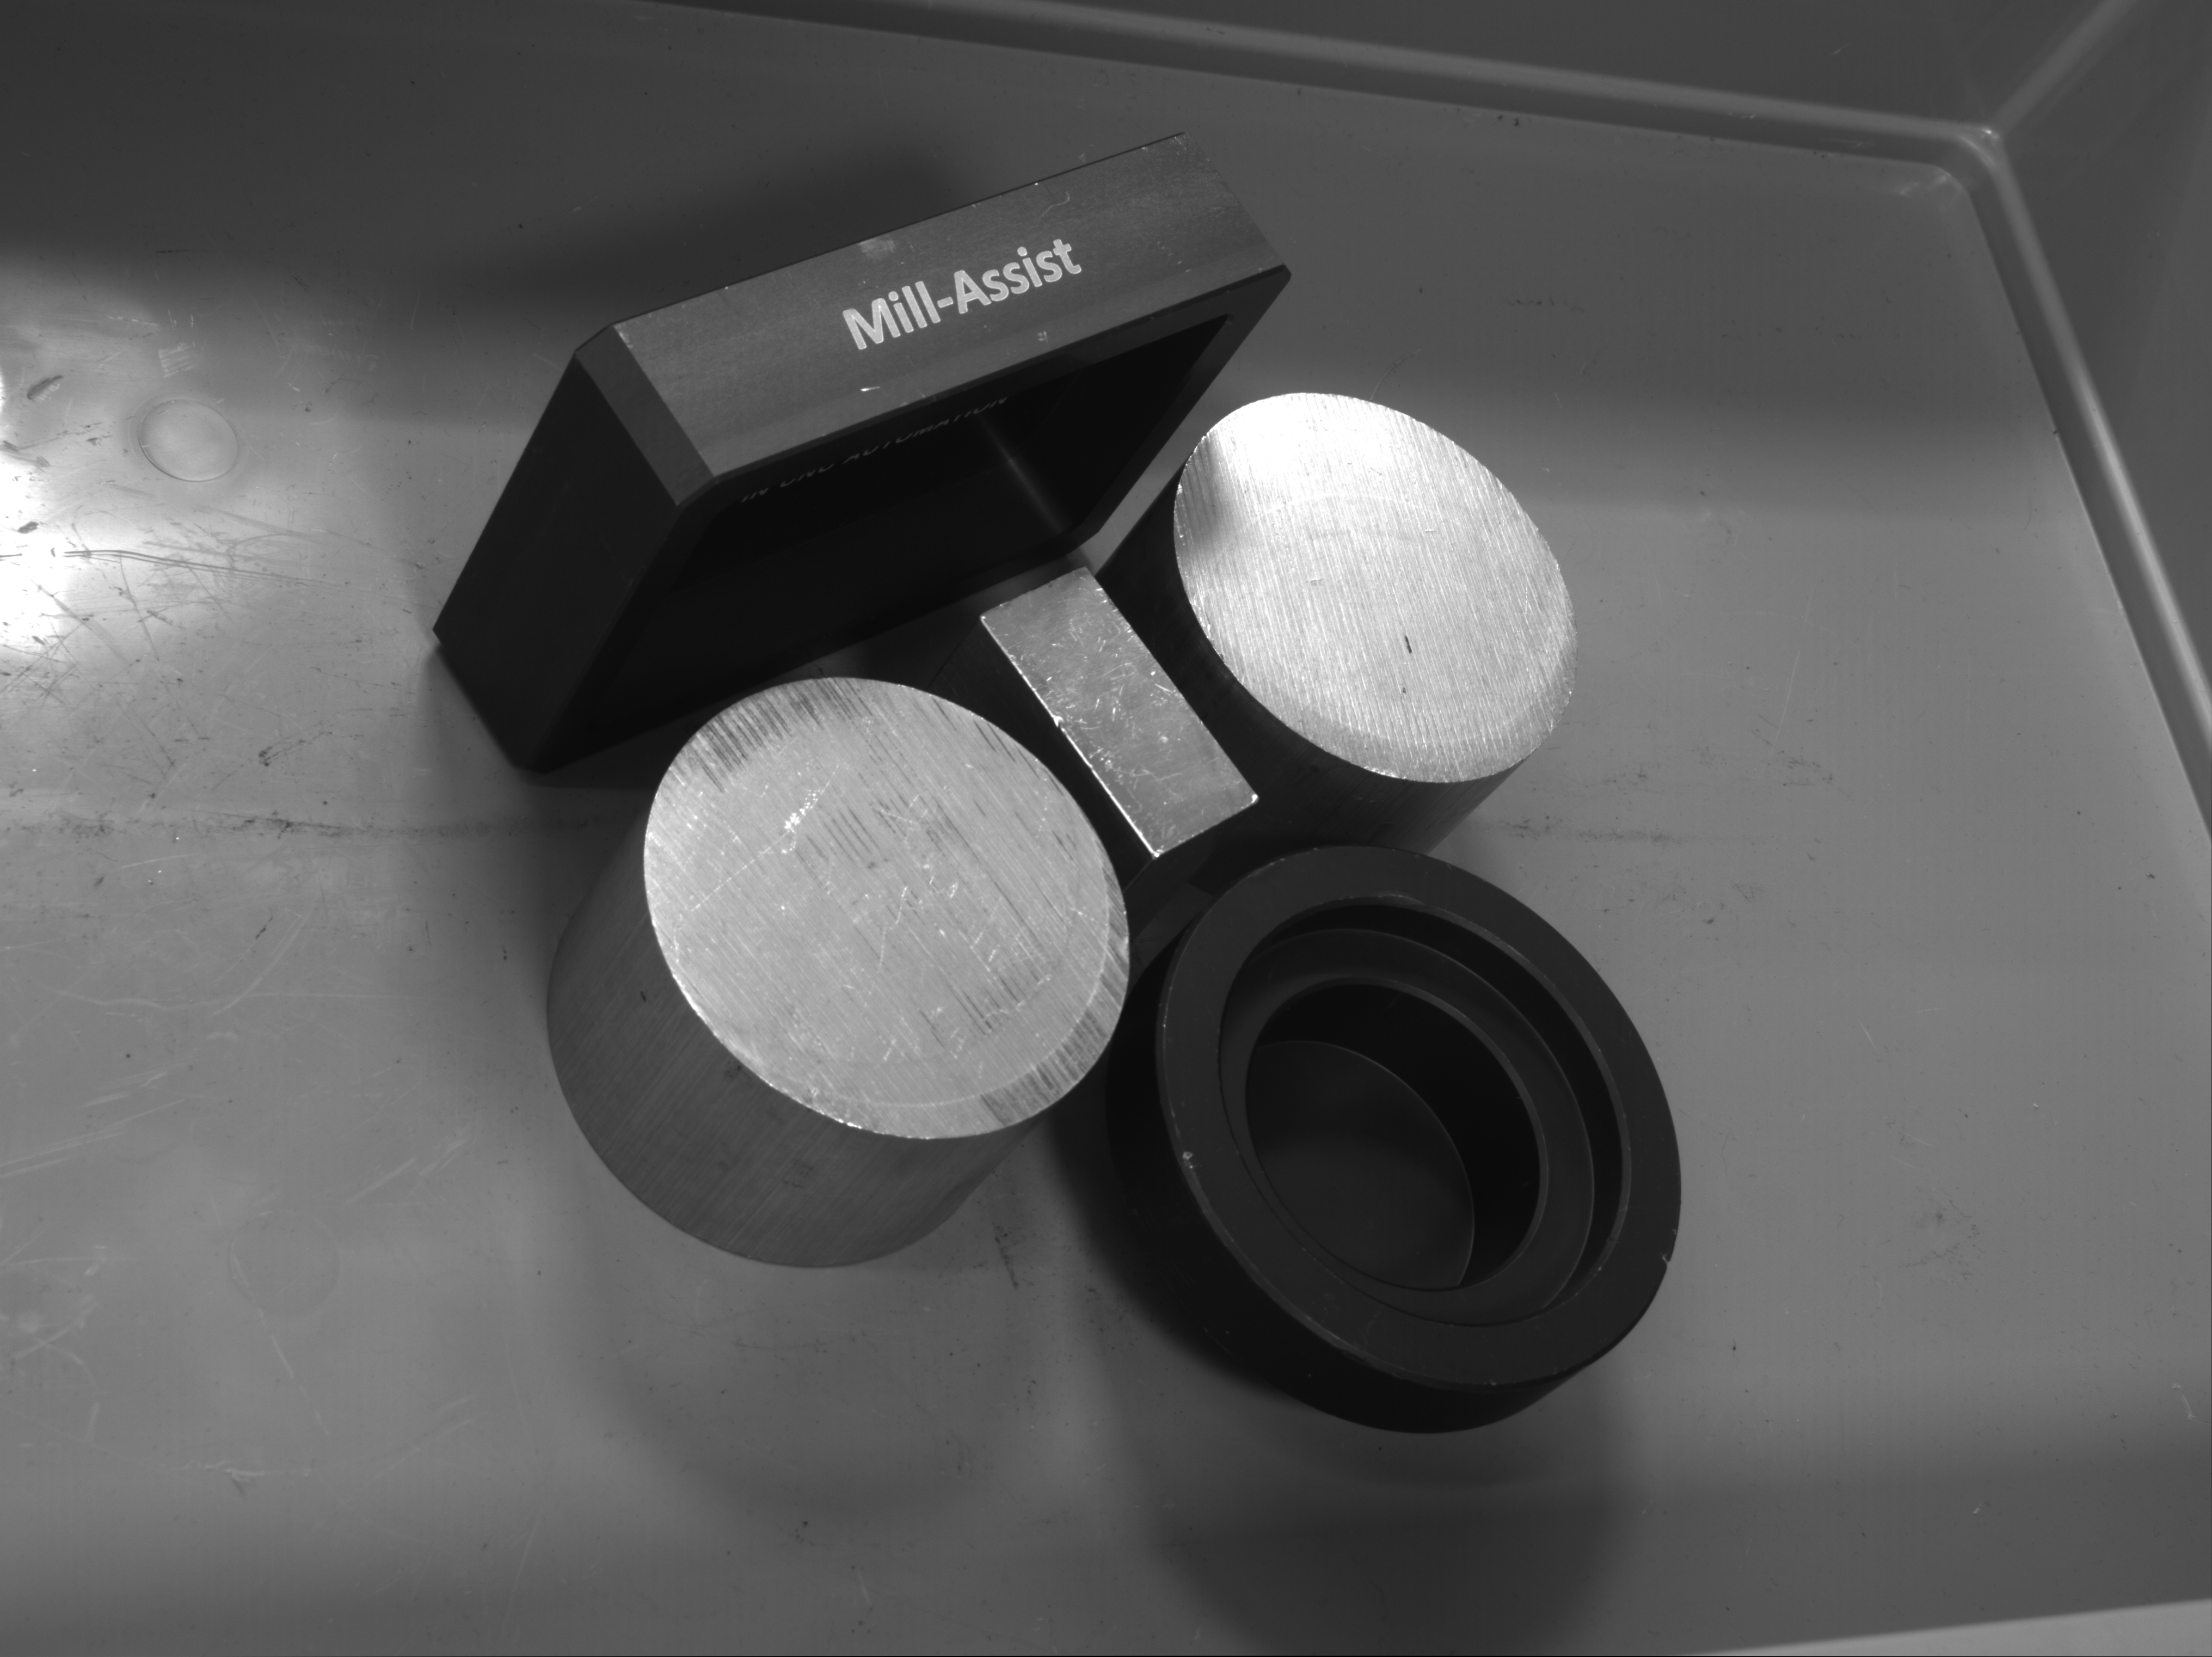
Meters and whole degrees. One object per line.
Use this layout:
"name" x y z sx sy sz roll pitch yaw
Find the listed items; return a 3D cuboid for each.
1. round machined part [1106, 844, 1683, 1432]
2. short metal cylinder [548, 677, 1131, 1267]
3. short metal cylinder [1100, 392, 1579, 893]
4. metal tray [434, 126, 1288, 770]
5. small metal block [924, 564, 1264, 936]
"round machined part" 0.044 0.055 0.617 0.098 0.042 0.098 13 56 -21
"short metal cylinder" -0.043 0.023 0.585 0.080 0.050 0.080 13 56 -21
"short metal cylinder" 0.038 -0.031 0.661 0.080 0.050 0.080 13 56 -21
"metal tray" -0.040 -0.064 0.613 0.130 0.090 0.030 -26 76 -36
"small metal block" -0.007 -0.008 0.622 0.025 0.050 0.050 -28 77 -37
